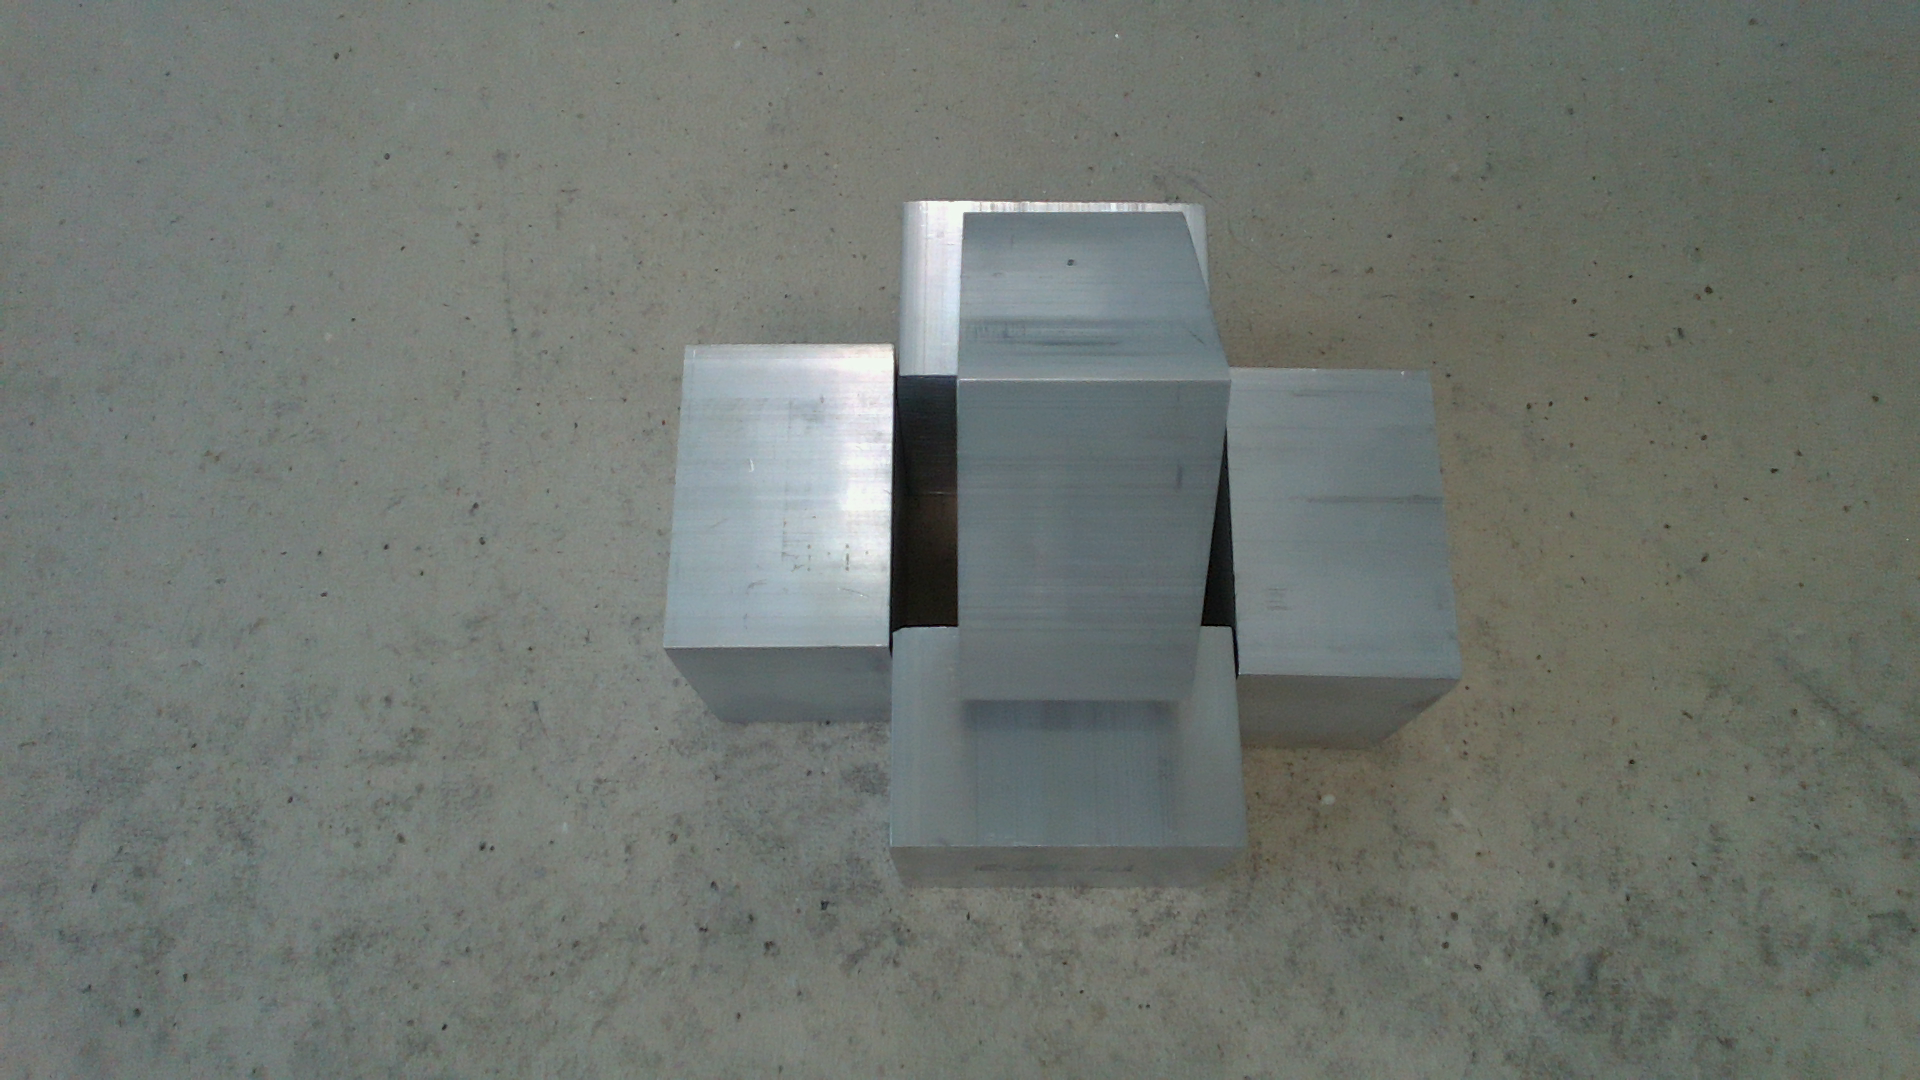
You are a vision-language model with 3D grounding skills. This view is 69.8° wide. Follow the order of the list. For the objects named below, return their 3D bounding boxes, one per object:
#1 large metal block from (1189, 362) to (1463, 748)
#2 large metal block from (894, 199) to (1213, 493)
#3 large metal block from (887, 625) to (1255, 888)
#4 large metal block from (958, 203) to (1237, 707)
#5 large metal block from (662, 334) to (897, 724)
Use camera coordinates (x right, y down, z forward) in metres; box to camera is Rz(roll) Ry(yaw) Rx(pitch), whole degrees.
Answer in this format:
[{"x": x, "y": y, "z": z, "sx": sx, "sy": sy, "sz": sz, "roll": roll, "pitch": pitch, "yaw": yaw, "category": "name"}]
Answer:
[{"x": 0.090, "y": 0.008, "z": 0.363, "sx": 0.050, "sy": 0.080, "sz": 0.080, "roll": 1, "pitch": 70, "yaw": 0, "category": "large metal block"}, {"x": 0.024, "y": -0.051, "z": 0.385, "sx": 0.080, "sy": 0.080, "sz": 0.050, "roll": 1, "pitch": 70, "yaw": 0, "category": "large metal block"}, {"x": 0.024, "y": 0.057, "z": 0.345, "sx": 0.080, "sy": 0.080, "sz": 0.050, "roll": 0, "pitch": 70, "yaw": 0, "category": "large metal block"}, {"x": 0.025, "y": -0.020, "z": 0.304, "sx": 0.050, "sy": 0.080, "sz": 0.080, "roll": 1, "pitch": 36, "yaw": 0, "category": "large metal block"}, {"x": -0.042, "y": 0.000, "z": 0.364, "sx": 0.050, "sy": 0.080, "sz": 0.080, "roll": 0, "pitch": 70, "yaw": 0, "category": "large metal block"}]
